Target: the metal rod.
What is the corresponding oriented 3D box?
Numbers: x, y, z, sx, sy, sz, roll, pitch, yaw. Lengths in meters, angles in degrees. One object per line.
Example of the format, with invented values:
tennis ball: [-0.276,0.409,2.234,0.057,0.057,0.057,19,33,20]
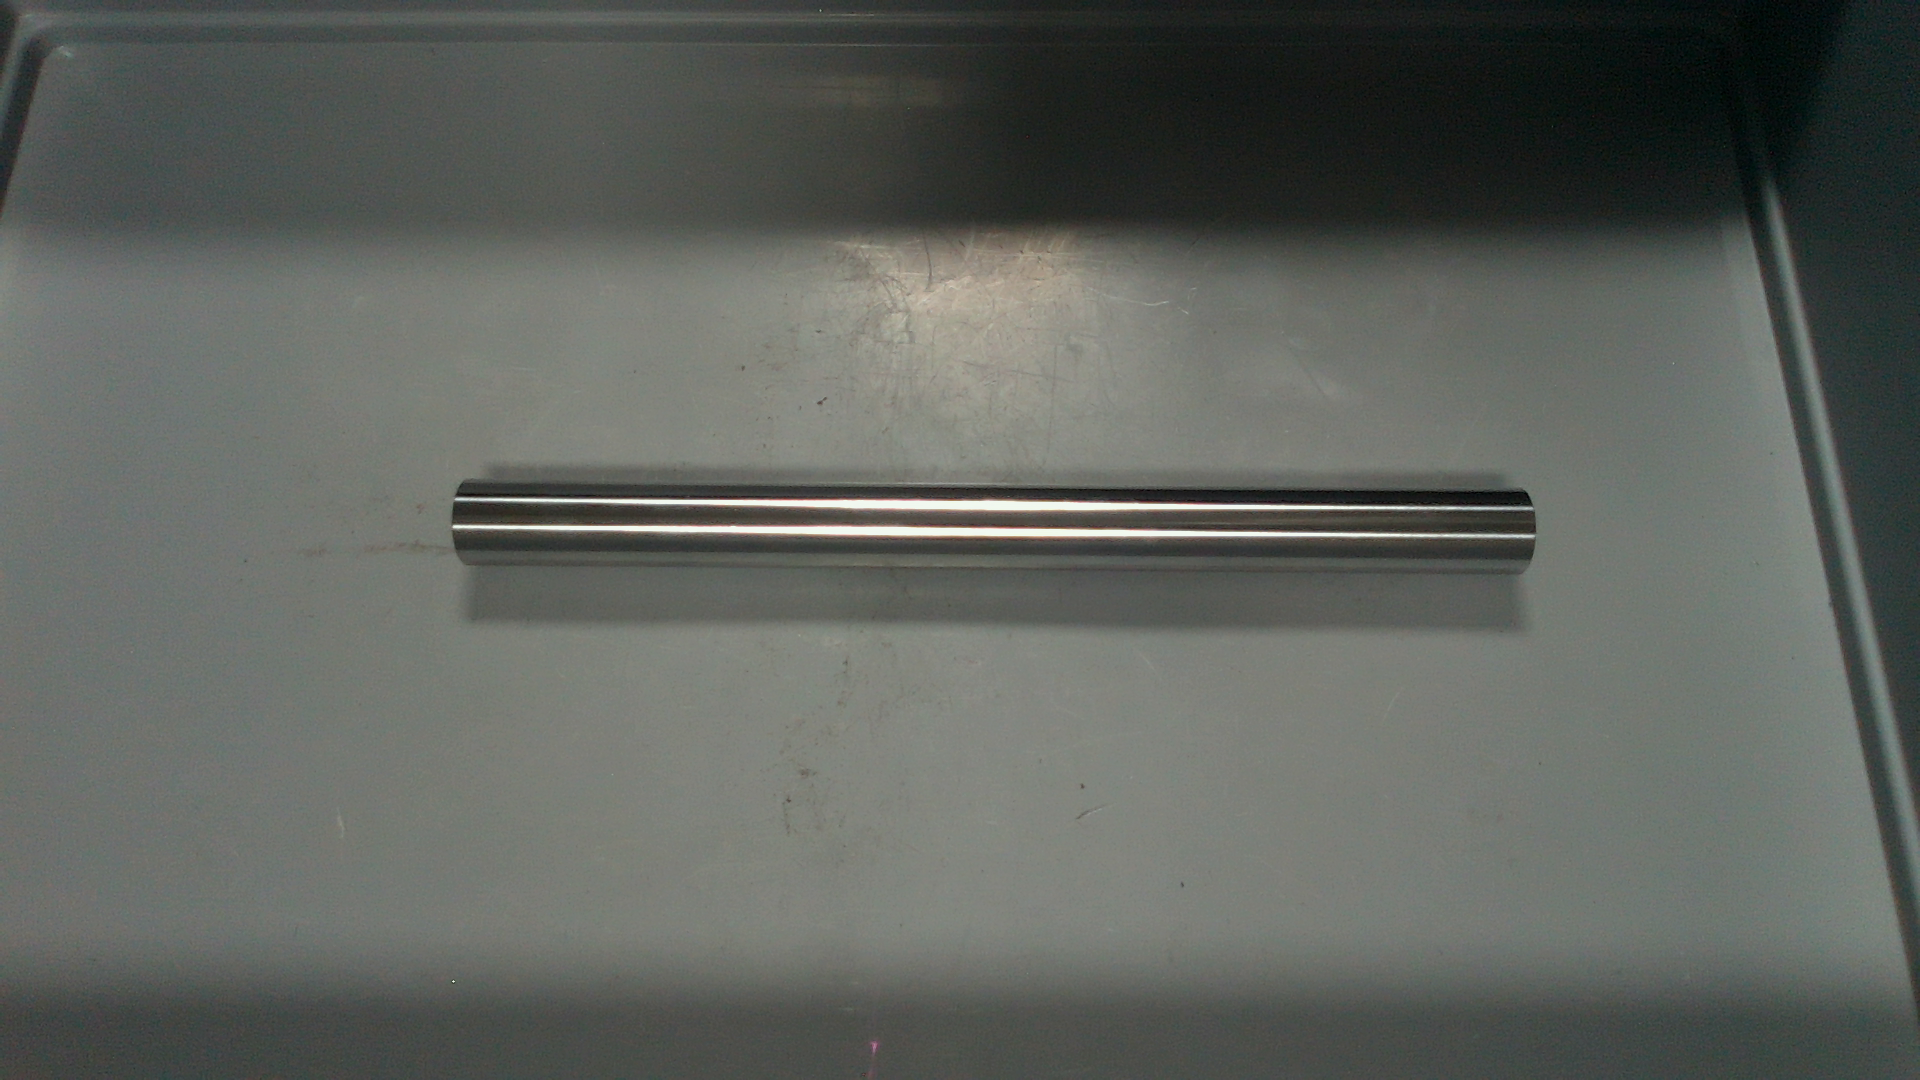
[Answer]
metal rod: [0.009,-0.004,0.394,0.300,0.025,0.025,0,70,0]
